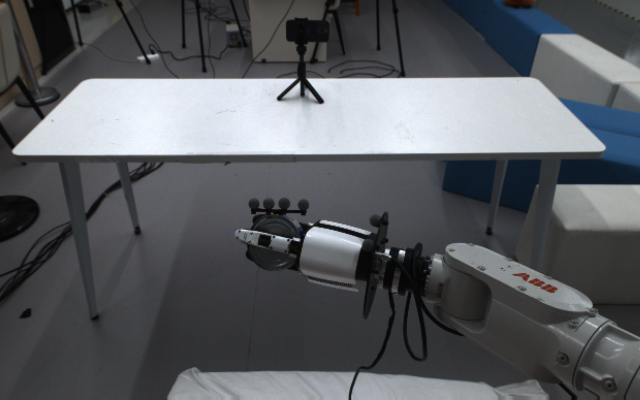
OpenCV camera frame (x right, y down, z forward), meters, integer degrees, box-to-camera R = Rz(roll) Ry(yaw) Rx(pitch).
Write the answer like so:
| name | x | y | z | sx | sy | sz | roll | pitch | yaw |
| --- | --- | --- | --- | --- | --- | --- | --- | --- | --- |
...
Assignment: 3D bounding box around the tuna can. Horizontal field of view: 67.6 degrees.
| name | x | y | z | sx | sy | sz | roll | pitch | yaw |
| --- | --- | --- | --- | --- | --- | --- | --- | --- | --- |
| tuna can | -0.065 | 0.066 | 0.738 | 0.085 | 0.085 | 0.034 | 12 | -1 | 14 |
